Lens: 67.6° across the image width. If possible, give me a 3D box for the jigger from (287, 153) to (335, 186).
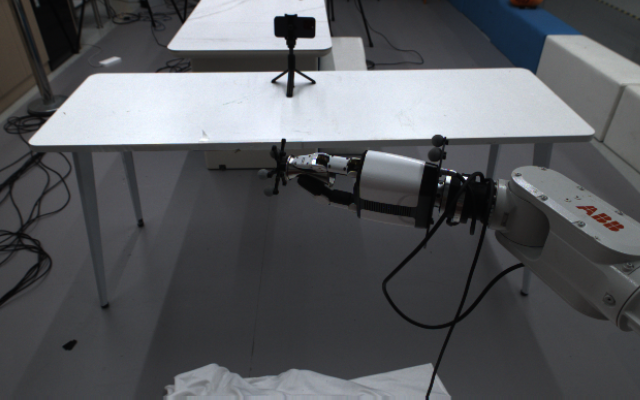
[{"bbox_3d":[-0.007,-0.050,0.726,0.071,0.043,0.043,7,35,15],"label":"jigger"}]
